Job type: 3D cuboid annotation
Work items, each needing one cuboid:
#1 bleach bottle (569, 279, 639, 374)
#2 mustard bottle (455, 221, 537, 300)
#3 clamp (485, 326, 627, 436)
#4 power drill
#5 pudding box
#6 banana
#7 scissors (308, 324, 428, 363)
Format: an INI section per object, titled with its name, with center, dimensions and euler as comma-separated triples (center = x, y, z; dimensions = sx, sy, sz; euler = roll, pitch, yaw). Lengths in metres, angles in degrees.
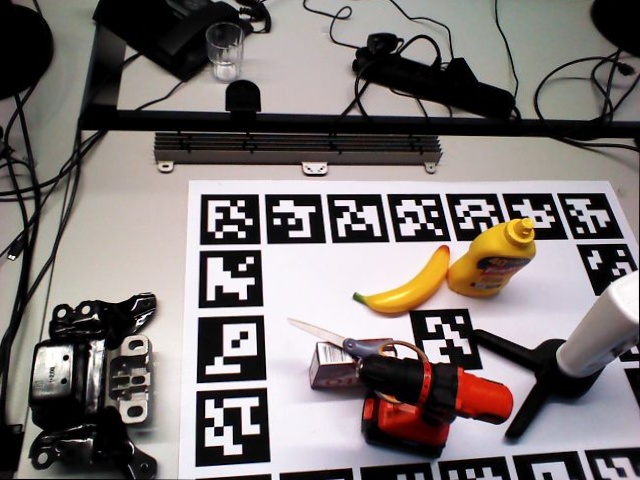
[bleach bottle]
center = 0.408, 0.123, 0.692
dimensions = 0.102, 0.251, 0.068
euler = -21, 61, -10
[mustard bottle]
center = 0.284, 0.028, 0.787
dimensions = 0.096, 0.192, 0.058
euler = 12, 59, -2
[clamp]
center = 0.363, 0.190, 0.770
dimensions = 0.202, 0.037, 0.164
euler = -6, 63, -12
[power drill]
center = 0.124, 0.206, 0.628
dimensions = 0.185, 0.188, 0.057
euler = 9, 52, 1
[pudding box]
center = 0.050, 0.173, 0.728
dimensions = 0.114, 0.090, 0.038
euler = 3, 53, -6
[banana]
center = 0.168, 0.050, 0.837
dimensions = 0.196, 0.039, 0.074
euler = -38, 54, -24
[scissors]
center = 0.048, 0.135, 0.675
dimensions = 0.203, 0.016, 0.087
euler = 23, 64, 1
